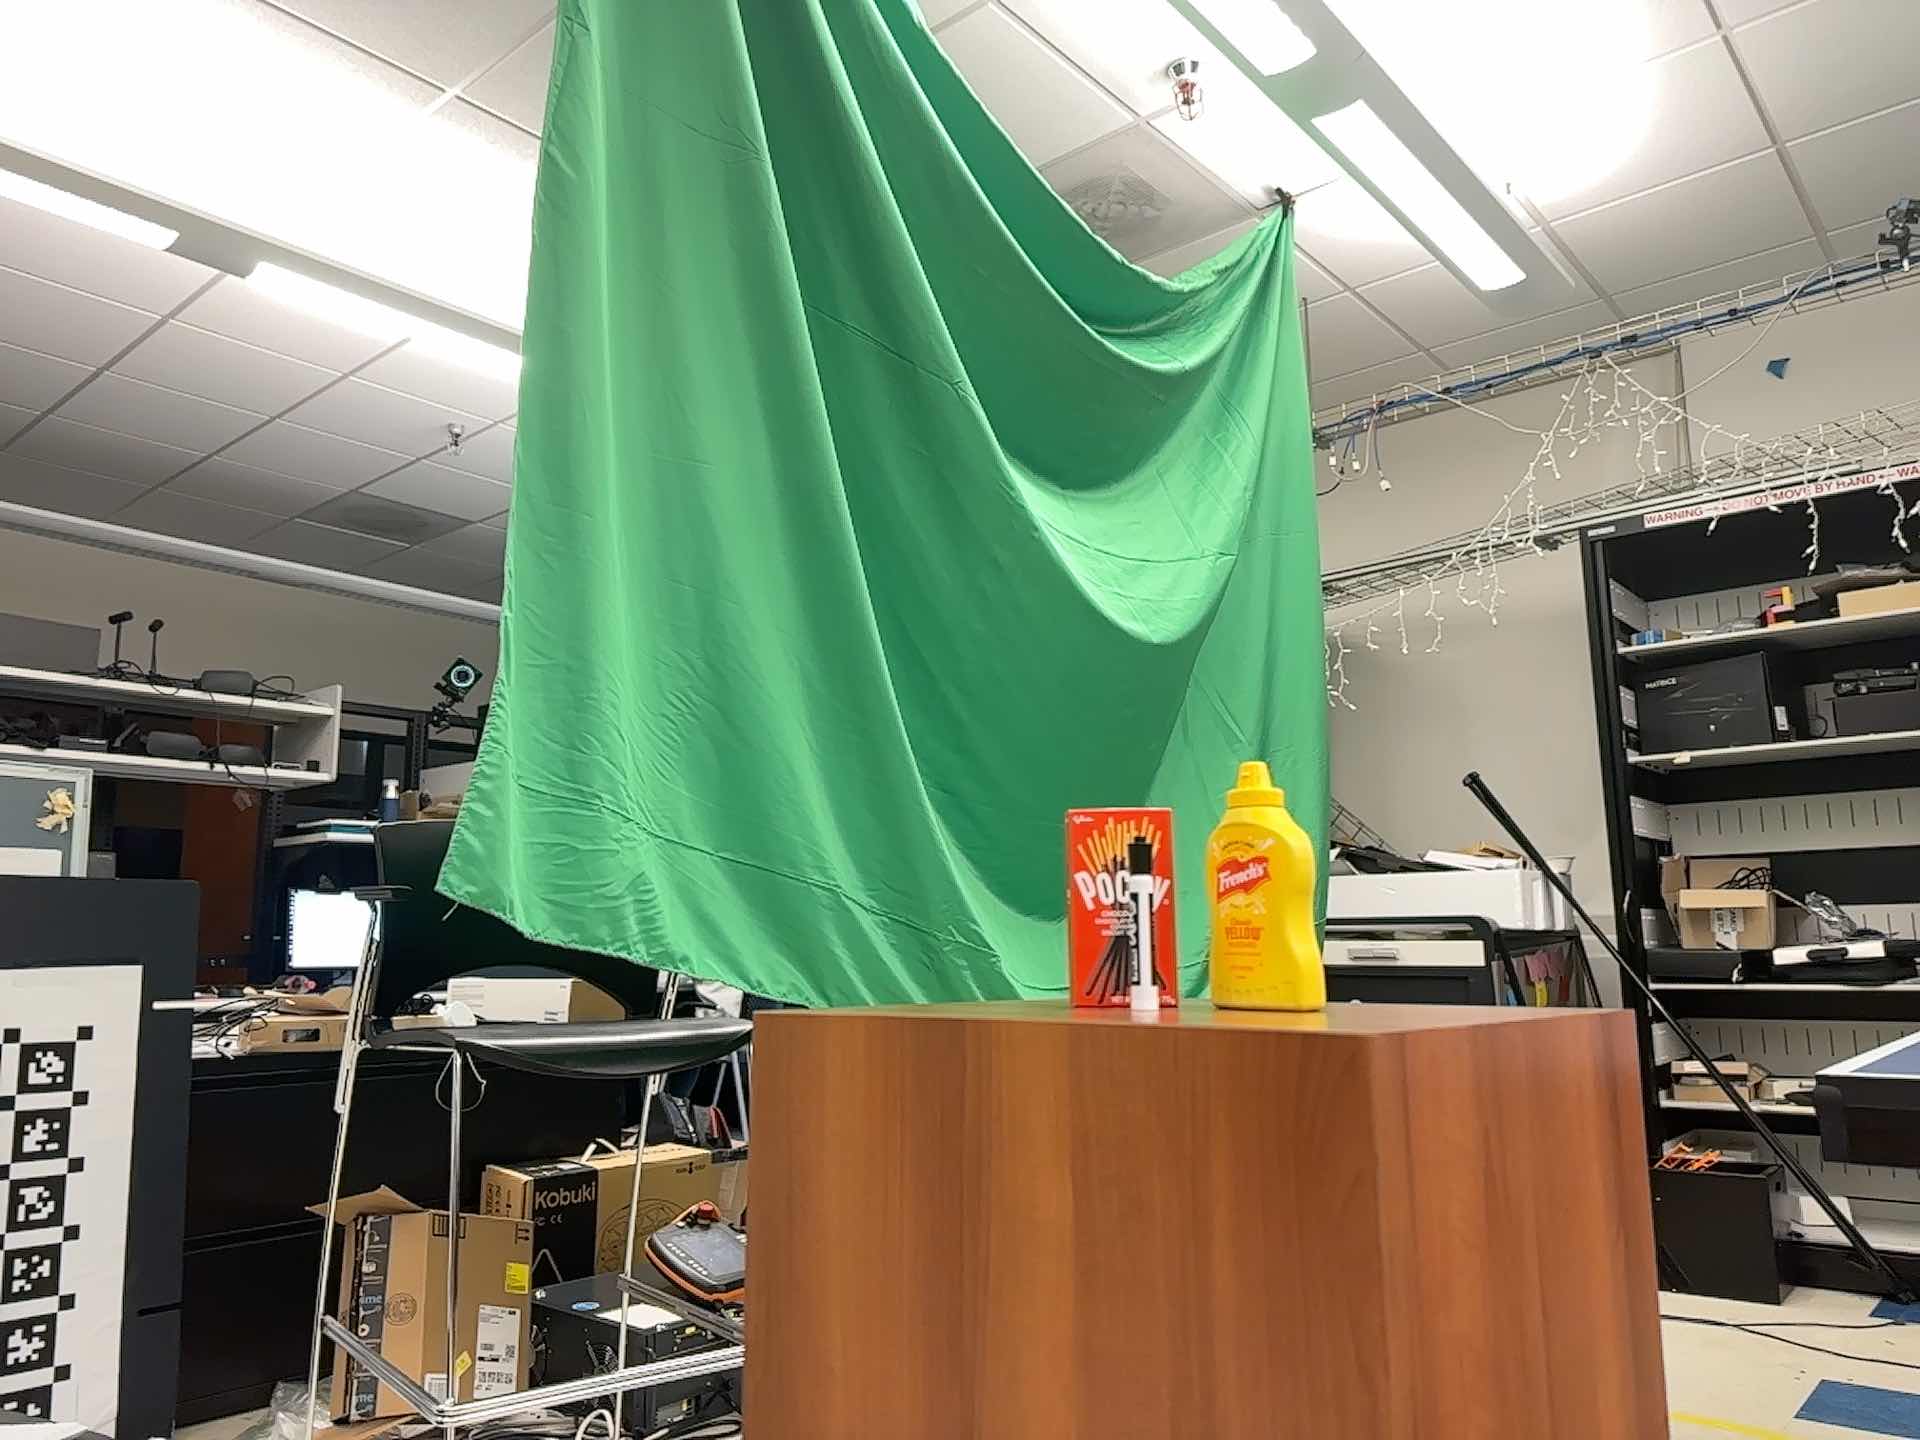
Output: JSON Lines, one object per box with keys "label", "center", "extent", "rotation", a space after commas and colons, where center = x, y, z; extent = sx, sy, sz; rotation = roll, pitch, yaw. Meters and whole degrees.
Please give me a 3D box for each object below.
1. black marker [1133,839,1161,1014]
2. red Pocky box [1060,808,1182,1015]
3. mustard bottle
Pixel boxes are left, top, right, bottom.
{"label": "black marker", "center": [0.132, 0.145, 0.950], "extent": [0.020, 0.121, 0.020], "rotation": [1, -10, 0]}
{"label": "red Pocky box", "center": [0.121, 0.145, 1.029], "extent": [0.083, 0.155, 0.028], "rotation": [-4, -7, 5]}
{"label": "mustard bottle", "center": [0.220, 0.119, 0.981], "extent": [0.054, 0.184, 0.092], "rotation": [2, -9, -29]}
